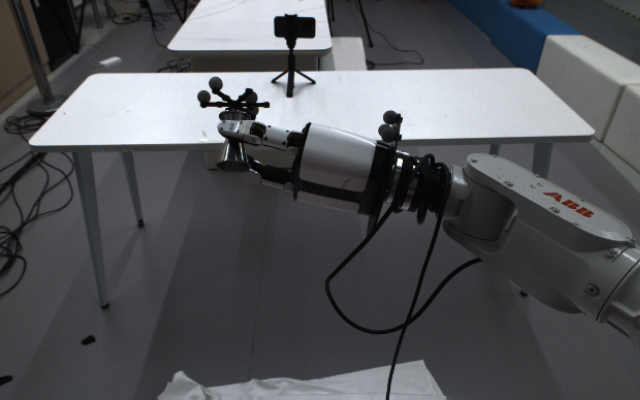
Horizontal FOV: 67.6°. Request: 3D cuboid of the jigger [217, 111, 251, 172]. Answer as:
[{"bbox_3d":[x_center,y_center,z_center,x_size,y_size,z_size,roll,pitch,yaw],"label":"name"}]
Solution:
[{"bbox_3d":[-0.108,-0.074,0.607,0.043,0.043,0.071,0,75,-3],"label":"jigger"}]
